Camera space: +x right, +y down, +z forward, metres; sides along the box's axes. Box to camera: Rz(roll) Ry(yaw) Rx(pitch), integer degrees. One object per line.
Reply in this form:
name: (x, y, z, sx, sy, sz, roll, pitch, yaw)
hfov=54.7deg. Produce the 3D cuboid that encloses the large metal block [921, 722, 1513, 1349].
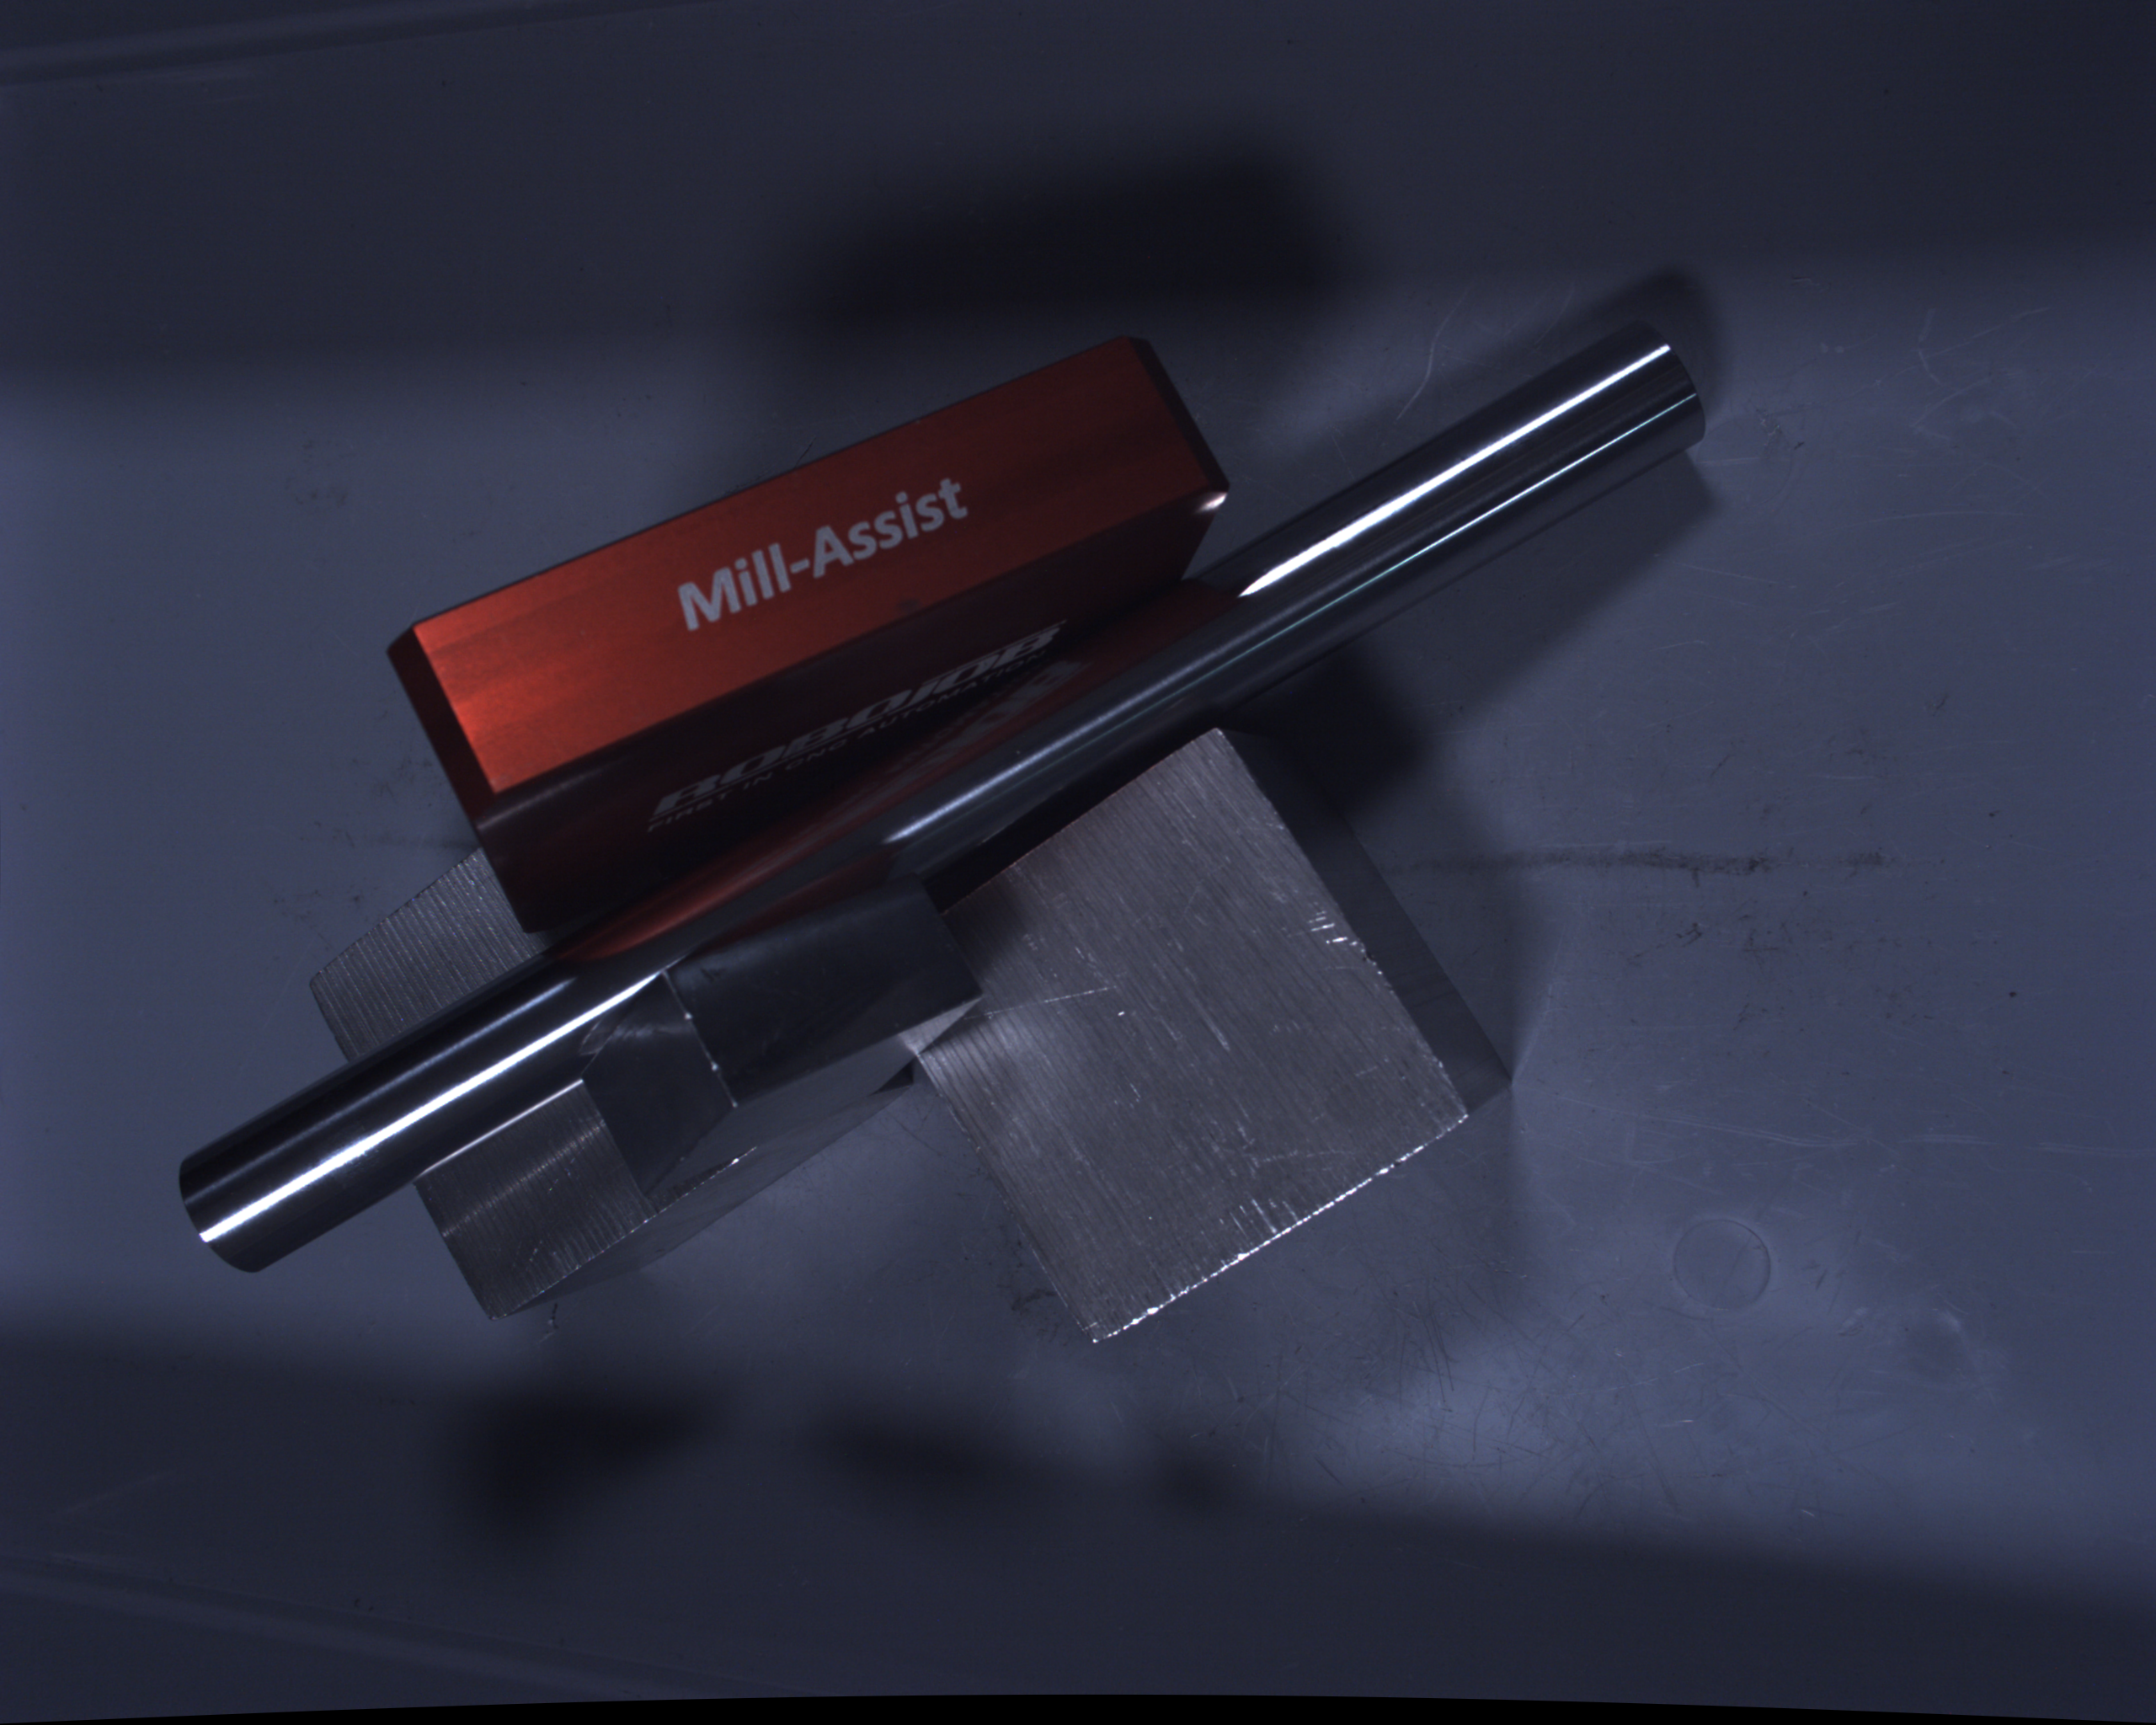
large metal block: (0.022, 0.031, 0.387, 0.080, 0.050, 0.080, -35, 79, 16)

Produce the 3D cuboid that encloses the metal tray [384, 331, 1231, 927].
metal tray: (-0.045, -0.037, 0.361, 0.131, 0.090, 0.030, -25, 82, -15)

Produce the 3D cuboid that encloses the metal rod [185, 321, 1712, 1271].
metal rod: (-0.024, -0.011, 0.377, 0.301, 0.025, 0.025, -30, 80, 2)

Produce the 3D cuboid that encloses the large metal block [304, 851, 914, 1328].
large metal block: (-0.095, 0.035, 0.426, 0.080, 0.050, 0.080, -35, 79, 16)

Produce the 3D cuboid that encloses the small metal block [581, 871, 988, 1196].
small metal block: (-0.052, 0.030, 0.361, 0.025, 0.050, 0.050, 61, 144, 10)
